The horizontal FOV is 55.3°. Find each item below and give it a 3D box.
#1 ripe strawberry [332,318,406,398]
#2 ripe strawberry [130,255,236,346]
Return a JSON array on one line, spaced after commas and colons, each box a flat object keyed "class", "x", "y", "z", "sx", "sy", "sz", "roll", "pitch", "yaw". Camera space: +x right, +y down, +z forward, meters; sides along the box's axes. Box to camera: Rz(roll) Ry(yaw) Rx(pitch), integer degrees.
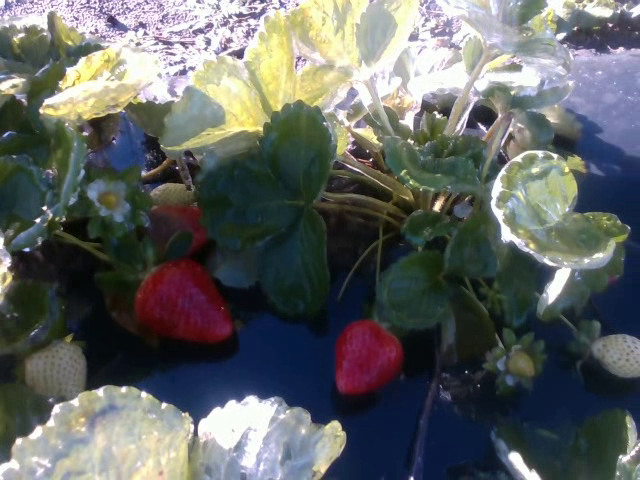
[{"class": "ripe strawberry", "x": 0.022, "y": 0.059, "z": 0.287, "sx": 0.039, "sy": 0.047, "sz": 0.040, "roll": 30, "pitch": -30, "yaw": 6}, {"class": "ripe strawberry", "x": -0.067, "y": 0.033, "z": 0.305, "sx": 0.056, "sy": 0.044, "sz": 0.040, "roll": 41, "pitch": -17, "yaw": 10}]
